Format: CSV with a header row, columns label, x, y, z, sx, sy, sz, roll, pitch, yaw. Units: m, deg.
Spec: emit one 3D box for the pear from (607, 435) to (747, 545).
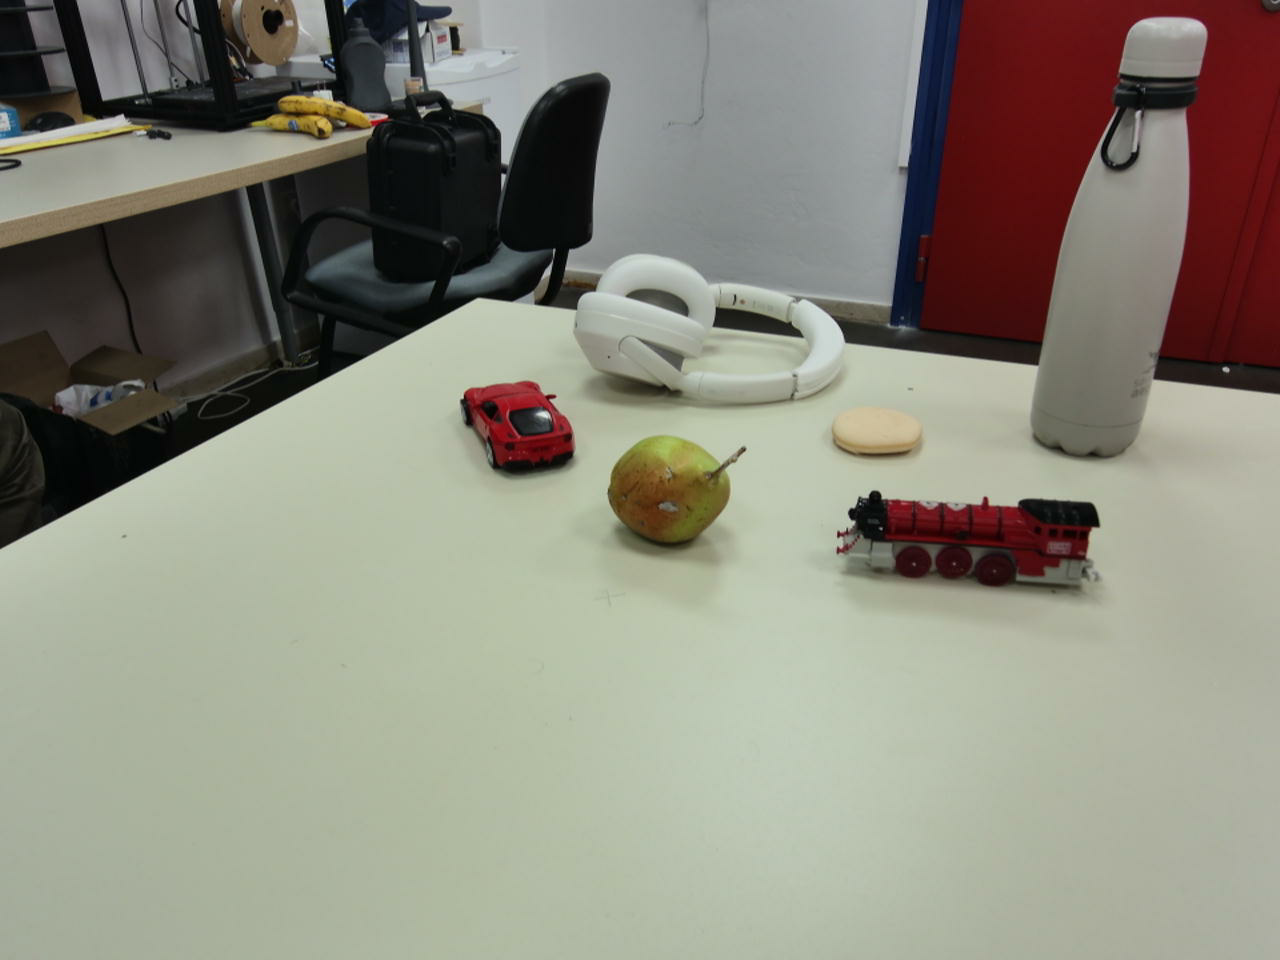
label,x,y,z,sx,sy,sz,roll,pitch,yaw
pear,0.017,0.003,0.586,0.068,0.069,0.070,-6,26,-13
